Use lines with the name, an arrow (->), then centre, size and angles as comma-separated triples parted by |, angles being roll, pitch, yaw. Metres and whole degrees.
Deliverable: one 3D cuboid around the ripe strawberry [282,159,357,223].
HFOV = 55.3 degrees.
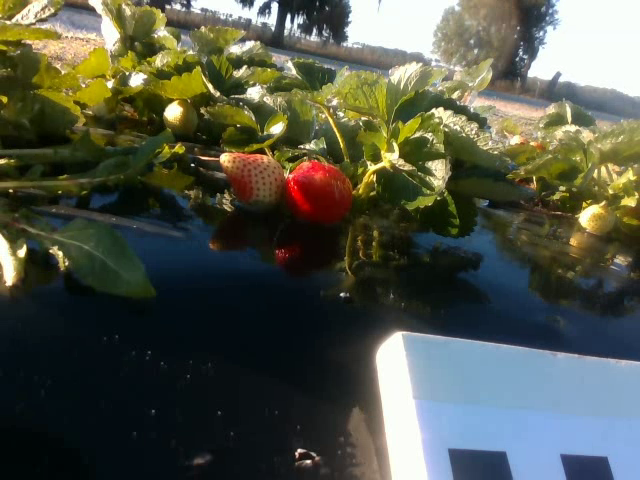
ripe strawberry -> 0.001, -0.030, 0.313 | 0.040, 0.037, 0.055 | -19, -22, -5
